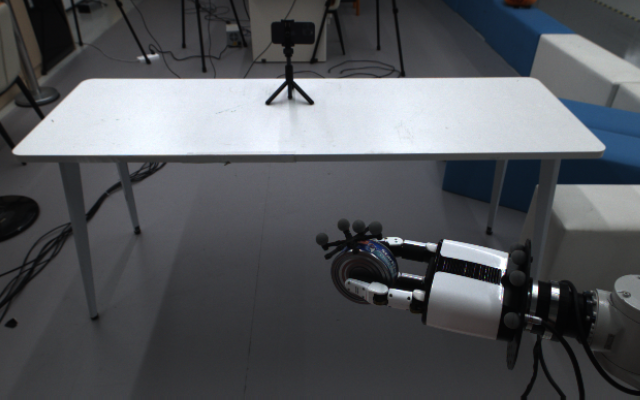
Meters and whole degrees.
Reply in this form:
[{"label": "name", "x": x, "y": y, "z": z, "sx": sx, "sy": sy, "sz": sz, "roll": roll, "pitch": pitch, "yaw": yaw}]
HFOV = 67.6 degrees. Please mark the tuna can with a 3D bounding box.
[{"label": "tuna can", "x": 0.061, "y": 0.094, "z": 0.643, "sx": 0.085, "sy": 0.085, "sz": 0.034, "roll": 15, "pitch": 30, "yaw": 17}]
